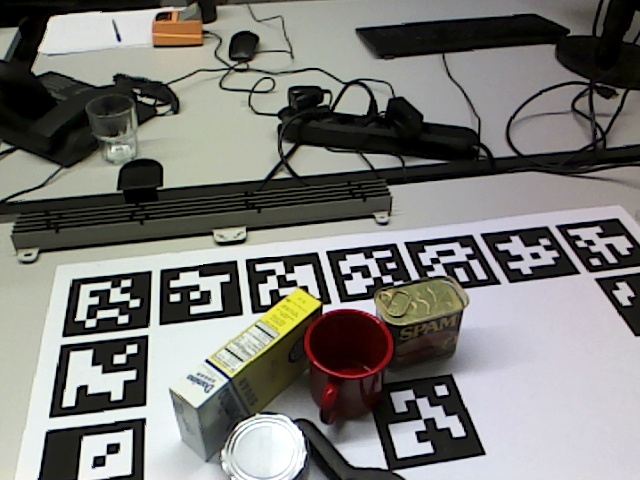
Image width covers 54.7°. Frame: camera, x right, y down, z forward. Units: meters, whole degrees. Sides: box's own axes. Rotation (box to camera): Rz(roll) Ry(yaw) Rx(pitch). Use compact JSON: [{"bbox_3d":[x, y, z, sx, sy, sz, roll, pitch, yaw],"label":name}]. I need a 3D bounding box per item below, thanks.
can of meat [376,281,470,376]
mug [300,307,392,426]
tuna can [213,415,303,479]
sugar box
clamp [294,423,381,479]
[{"bbox_3d":[0.112,0.102,0.705,0.101,0.083,0.058,-11,42,-15],"label":"can of meat"},{"bbox_3d":[0.022,0.140,0.649,0.093,0.081,0.117,11,44,10],"label":"mug"},{"bbox_3d":[-0.059,0.216,0.600,0.086,0.033,0.086,1,43,-1],"label":"tuna can"},{"bbox_3d":[-0.071,0.142,0.650,0.045,0.092,0.176,30,48,30],"label":"sugar box"},{"bbox_3d":[0.026,0.249,0.573,0.166,0.036,0.121,21,41,15],"label":"clamp"}]
